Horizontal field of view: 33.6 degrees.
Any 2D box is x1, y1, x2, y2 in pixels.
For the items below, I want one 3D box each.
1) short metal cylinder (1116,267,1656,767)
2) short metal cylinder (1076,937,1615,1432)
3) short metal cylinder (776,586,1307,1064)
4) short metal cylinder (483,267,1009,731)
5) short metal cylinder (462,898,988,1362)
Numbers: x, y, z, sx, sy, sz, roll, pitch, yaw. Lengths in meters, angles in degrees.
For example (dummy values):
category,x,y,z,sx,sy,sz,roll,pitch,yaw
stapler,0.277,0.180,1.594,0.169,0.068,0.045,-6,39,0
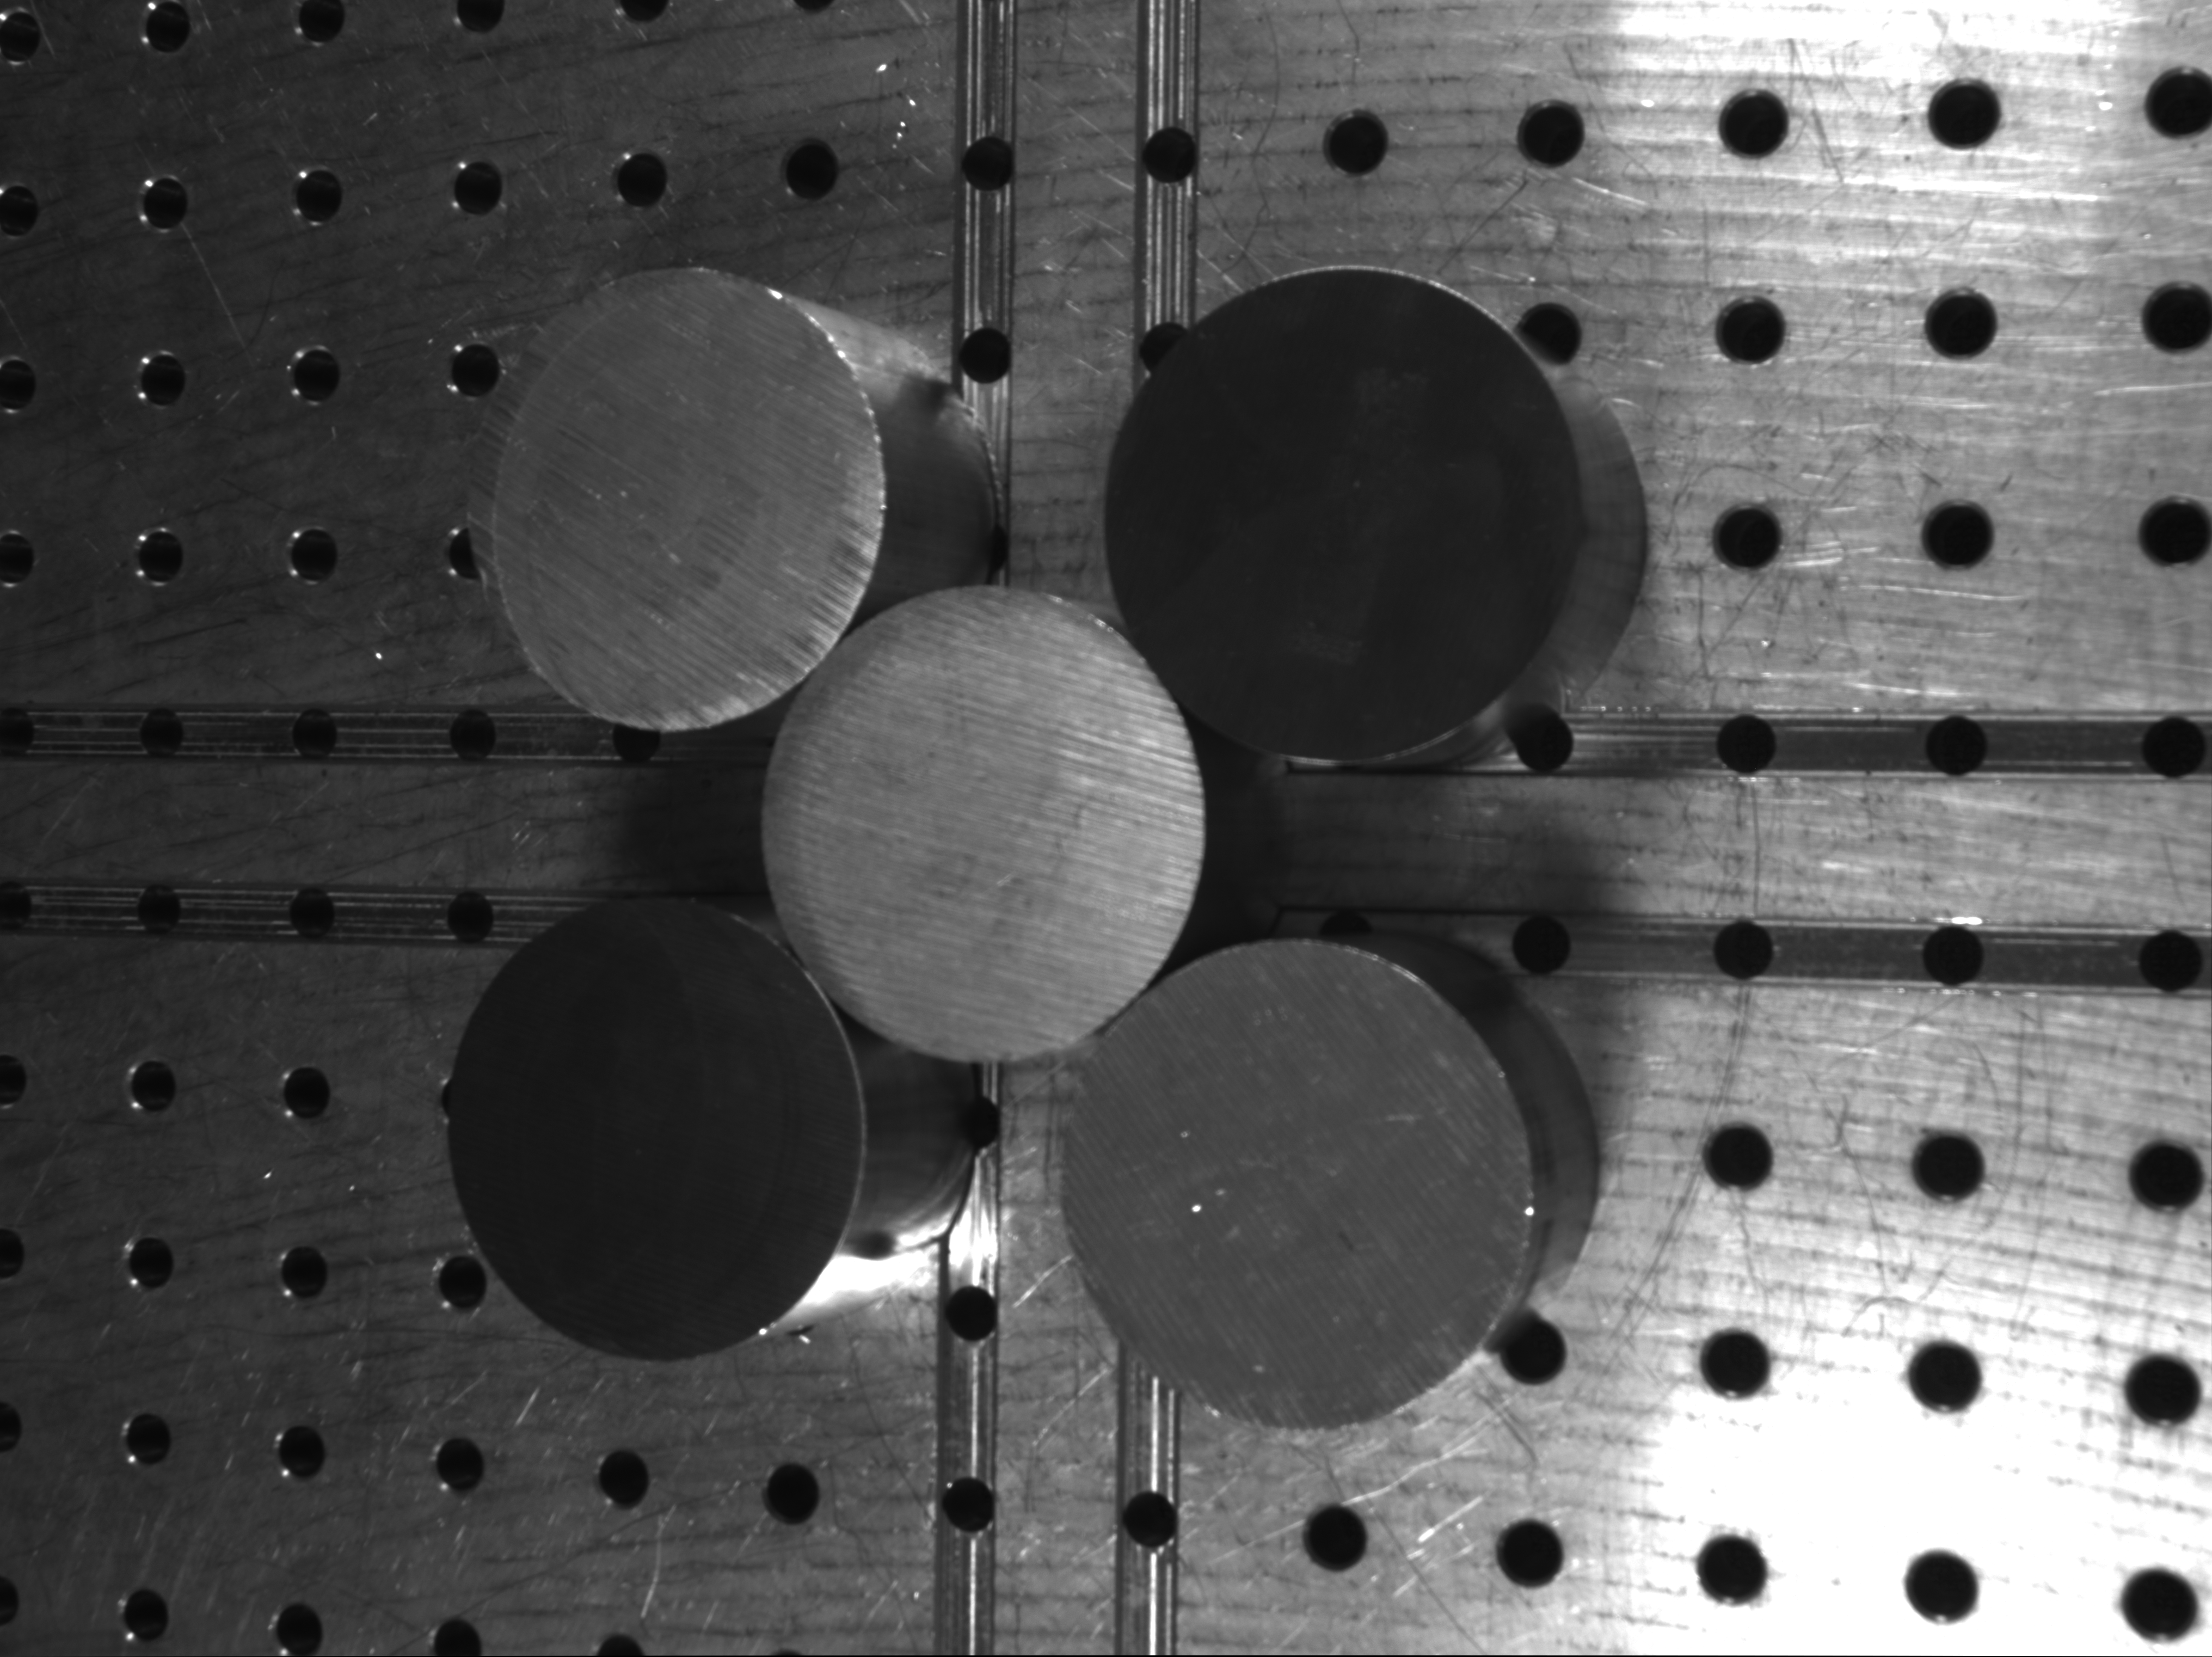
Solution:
category,x,y,z,sx,sy,sz,roll,pitch,yaw
short metal cylinder,0.048,-0.051,0.614,0.080,0.050,0.080,0,90,20
short metal cylinder,0.041,0.058,0.618,0.080,0.050,0.080,0,90,20
short metal cylinder,-0.010,-0.001,0.637,0.080,0.050,0.080,0,90,20
short metal cylinder,-0.064,-0.057,0.656,0.080,0.050,0.080,0,90,20
short metal cylinder,-0.068,0.052,0.656,0.080,0.050,0.080,0,90,20
